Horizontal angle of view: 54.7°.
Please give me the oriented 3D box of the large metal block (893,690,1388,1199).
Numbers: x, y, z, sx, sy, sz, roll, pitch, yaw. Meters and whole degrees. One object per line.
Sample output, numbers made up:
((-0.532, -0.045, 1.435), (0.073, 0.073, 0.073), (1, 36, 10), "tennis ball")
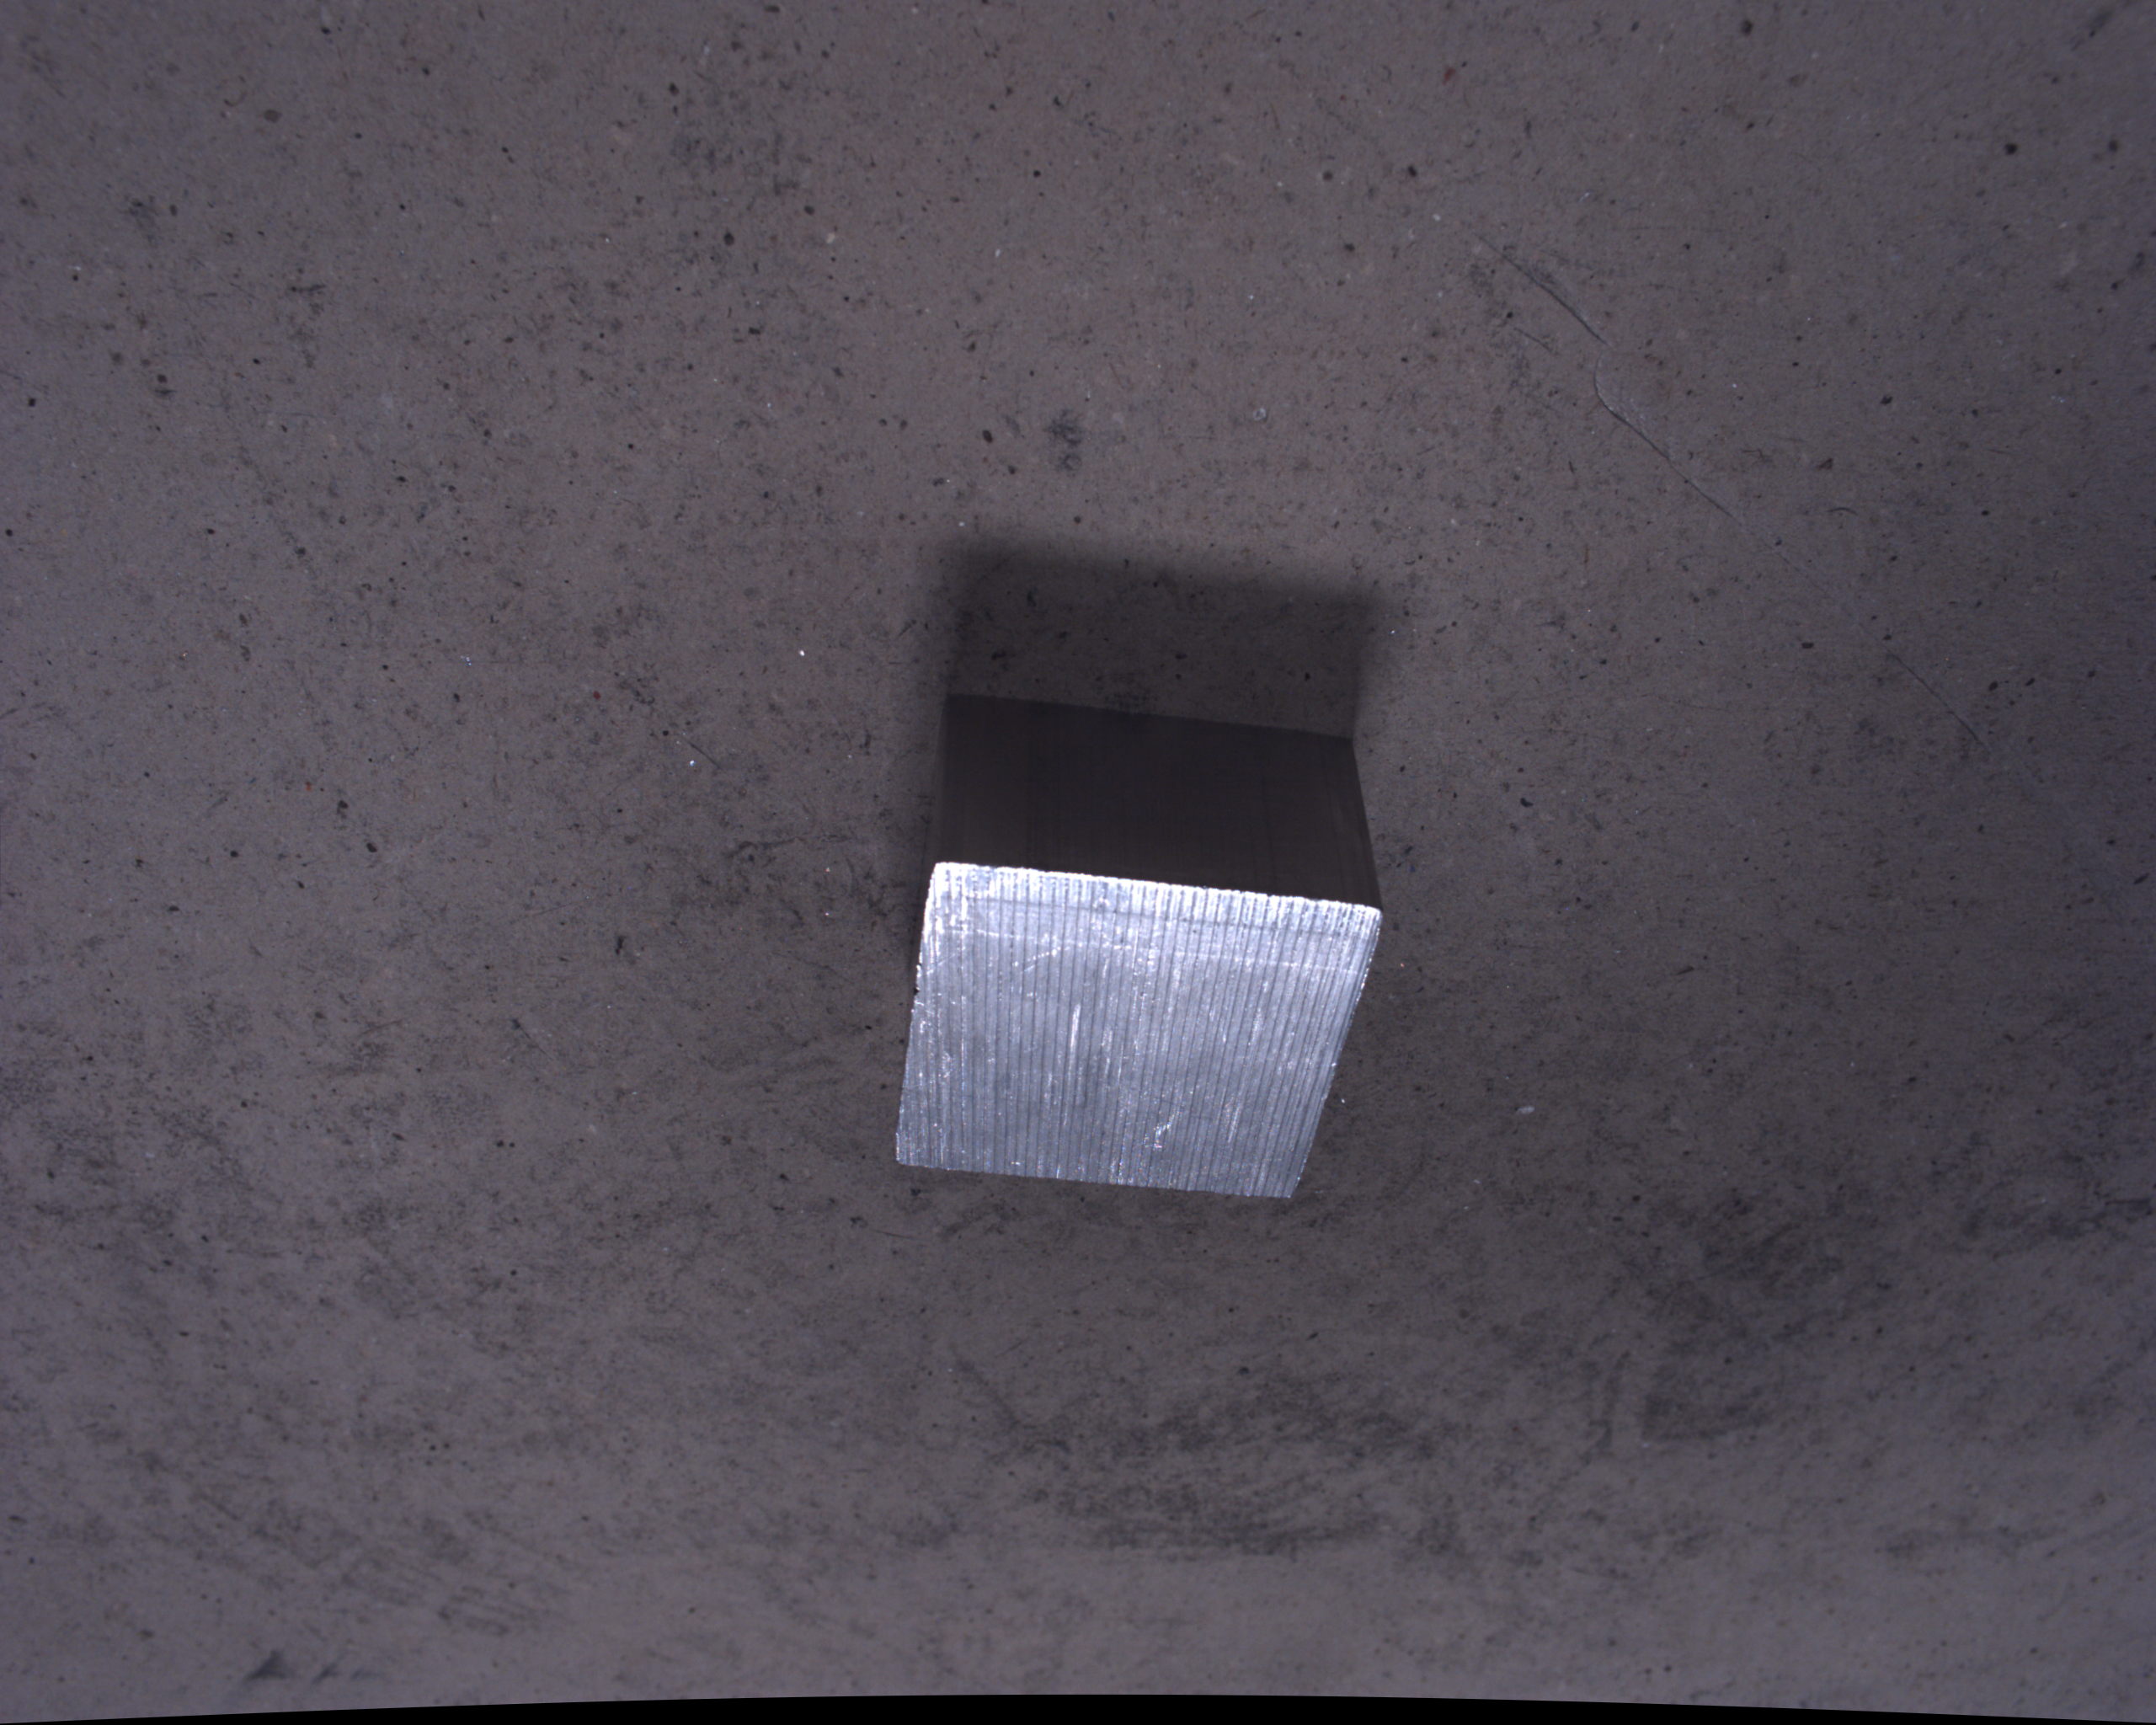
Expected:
((0.009, 0.017, 0.407), (0.081, 0.050, 0.079), (6, 130, -6), "large metal block")
